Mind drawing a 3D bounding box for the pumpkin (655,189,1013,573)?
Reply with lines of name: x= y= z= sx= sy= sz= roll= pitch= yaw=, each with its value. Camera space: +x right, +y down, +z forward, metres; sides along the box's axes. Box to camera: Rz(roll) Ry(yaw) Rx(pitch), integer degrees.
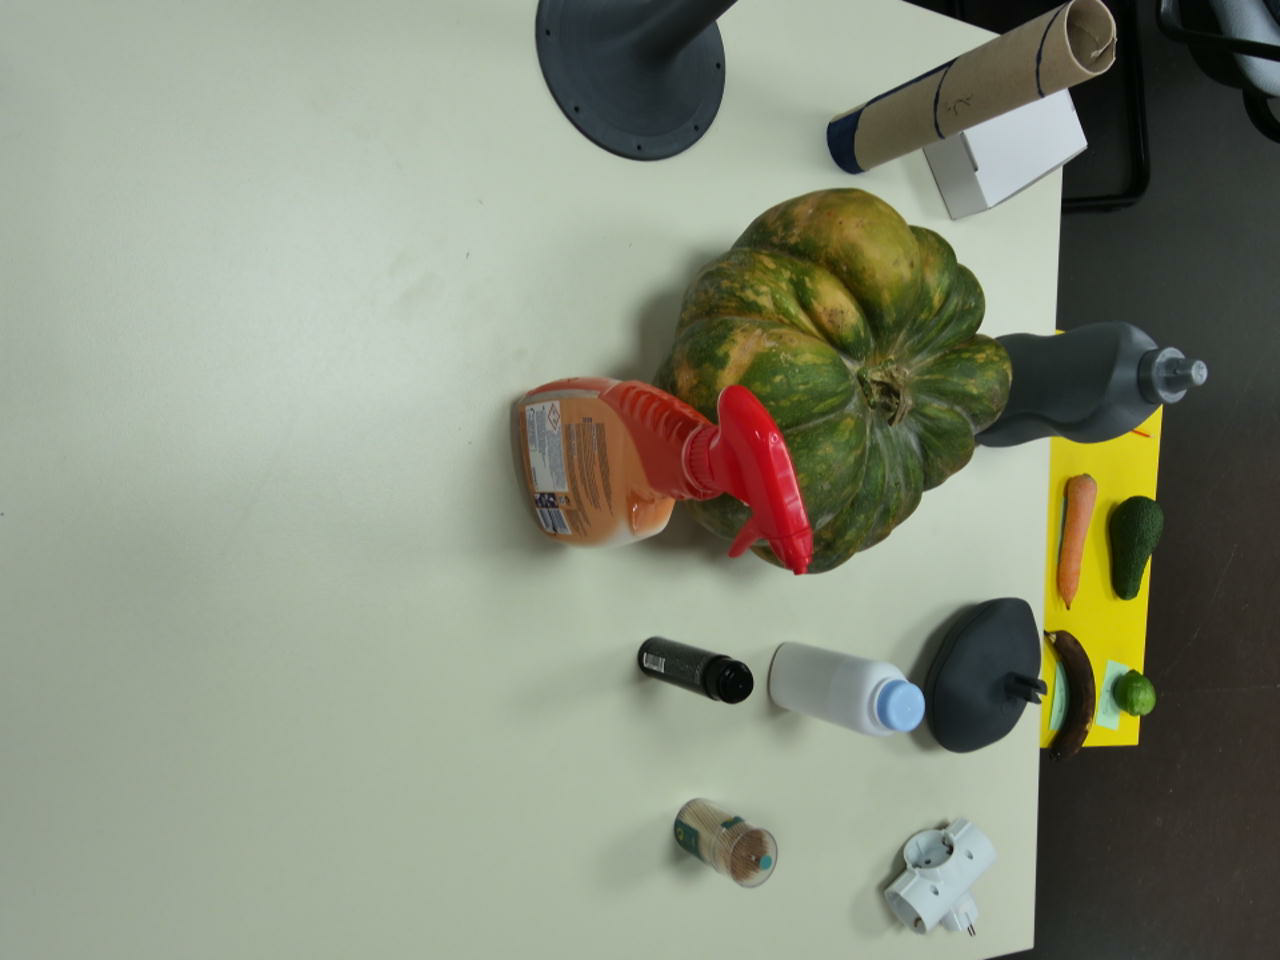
pumpkin: x=0.132 y=-0.066 z=0.691 sx=0.237 sy=0.173 sz=0.270 roll=44 pitch=71 yaw=-22
